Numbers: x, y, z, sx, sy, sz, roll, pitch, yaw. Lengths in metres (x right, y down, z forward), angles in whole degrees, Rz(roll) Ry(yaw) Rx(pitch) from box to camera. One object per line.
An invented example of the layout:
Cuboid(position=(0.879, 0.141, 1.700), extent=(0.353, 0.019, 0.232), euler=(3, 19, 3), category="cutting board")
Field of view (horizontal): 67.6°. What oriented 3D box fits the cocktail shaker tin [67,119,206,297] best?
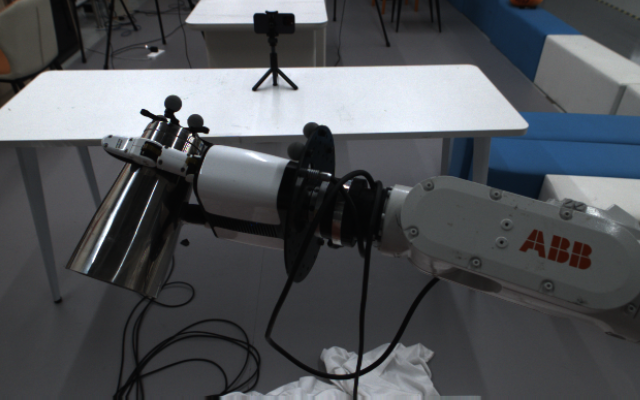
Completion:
Cuboid(position=(-0.182, 0.005, 0.509), extent=(0.093, 0.093, 0.170), euler=(13, 71, 15), category="cocktail shaker tin")
